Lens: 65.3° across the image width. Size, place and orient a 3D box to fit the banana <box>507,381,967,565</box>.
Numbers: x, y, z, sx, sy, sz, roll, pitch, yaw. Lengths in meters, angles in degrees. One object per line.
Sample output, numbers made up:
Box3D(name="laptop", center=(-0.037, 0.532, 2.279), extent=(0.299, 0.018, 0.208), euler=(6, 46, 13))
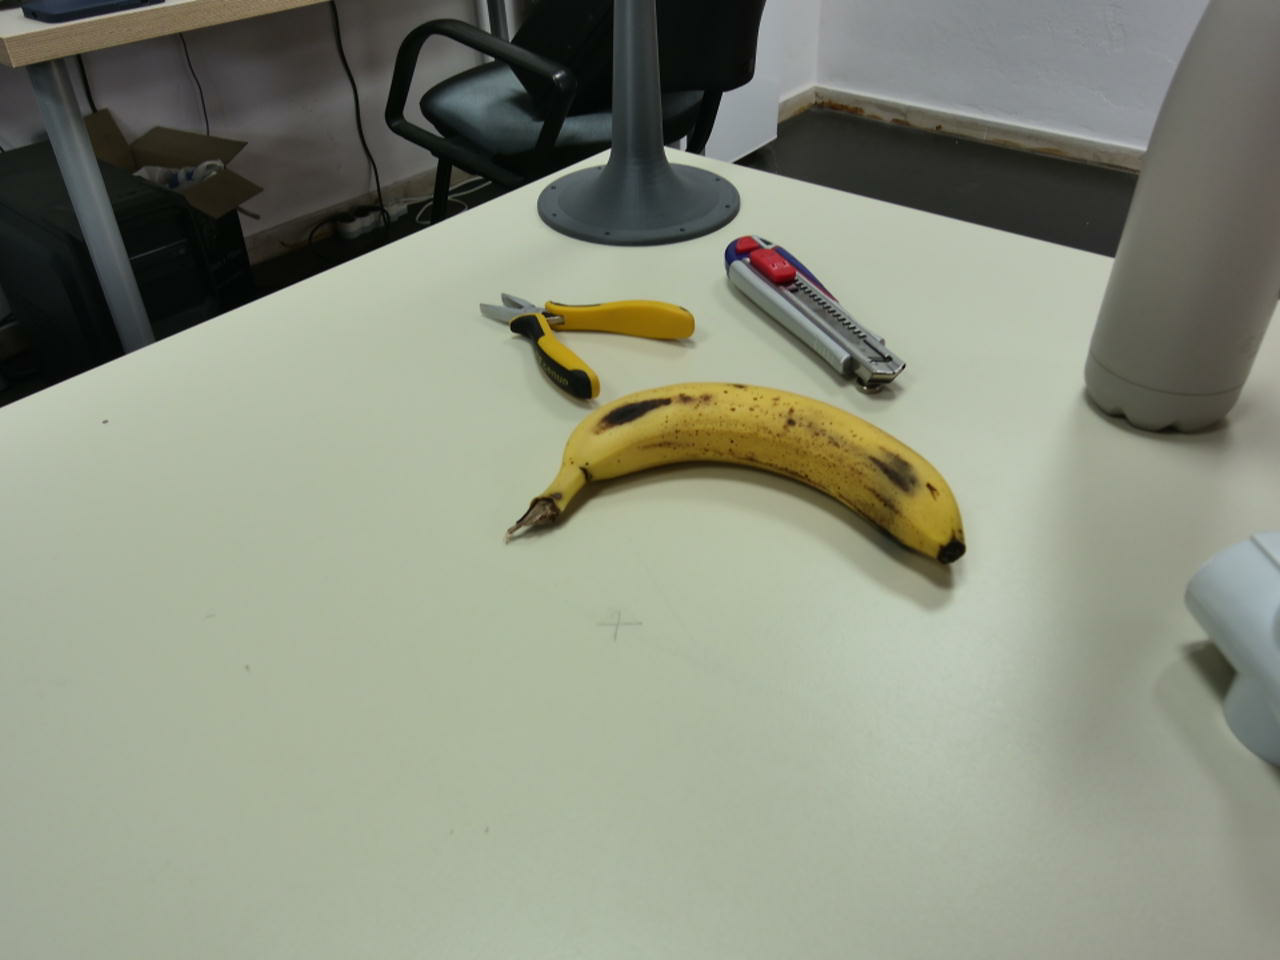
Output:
Box3D(name="banana", center=(0.048, -0.007, 0.447), extent=(0.186, 0.038, 0.097), euler=(7, 37, 10))
